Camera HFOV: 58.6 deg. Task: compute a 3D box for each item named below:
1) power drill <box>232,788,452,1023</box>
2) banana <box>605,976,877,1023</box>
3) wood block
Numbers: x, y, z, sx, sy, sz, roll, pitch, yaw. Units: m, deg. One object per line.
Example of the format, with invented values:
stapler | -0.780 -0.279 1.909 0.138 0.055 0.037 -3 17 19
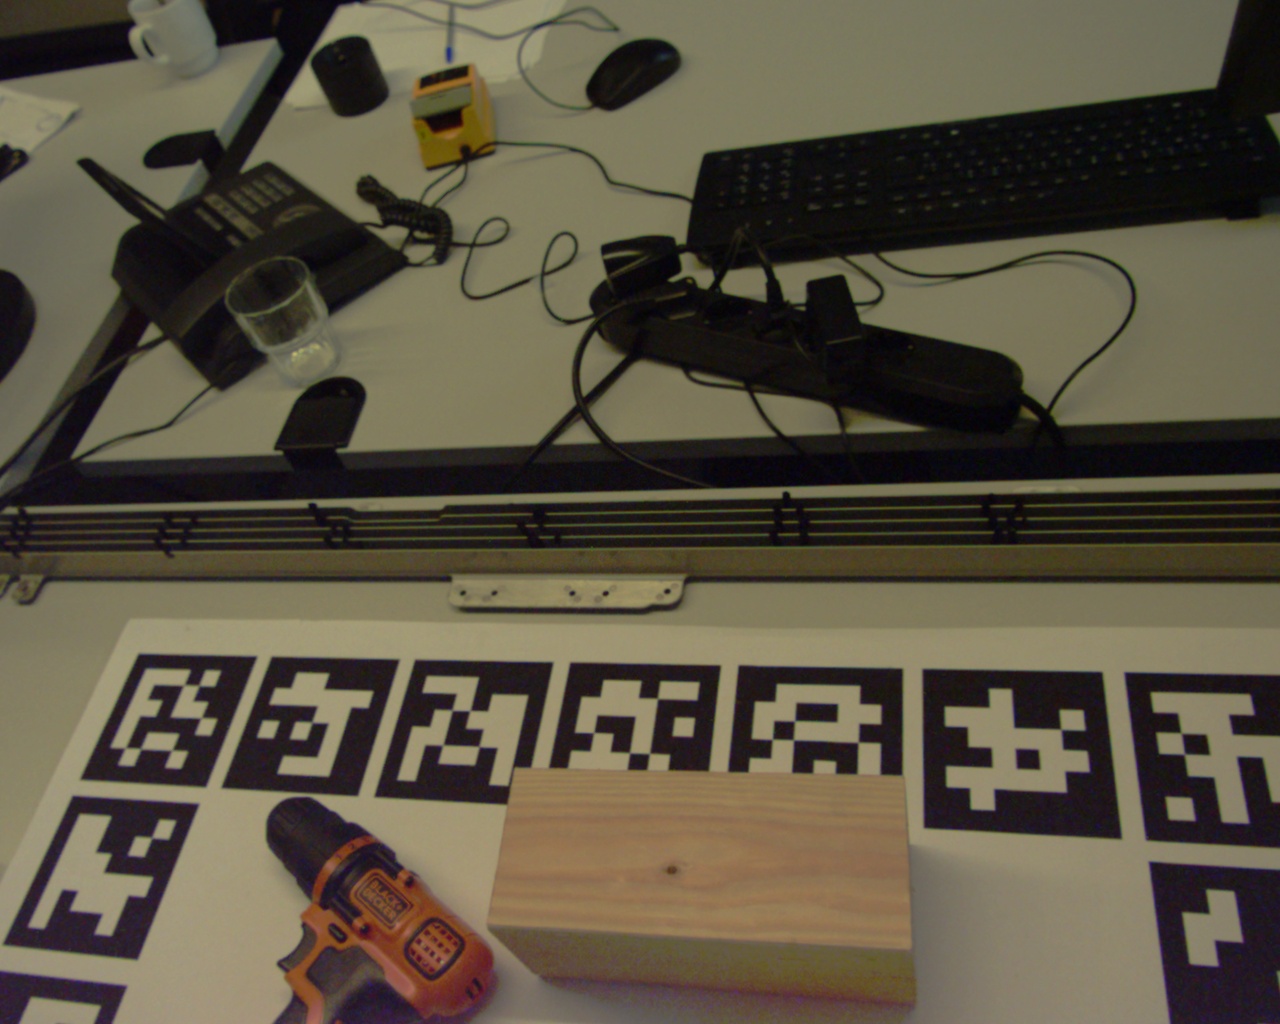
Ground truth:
power drill | -0.228 0.272 0.668 0.187 0.057 0.186 28 62 30
banana | 0.076 0.278 0.573 0.199 0.038 0.074 14 70 24
wood block | 0.008 0.195 0.634 0.208 0.090 0.090 -1 52 16
